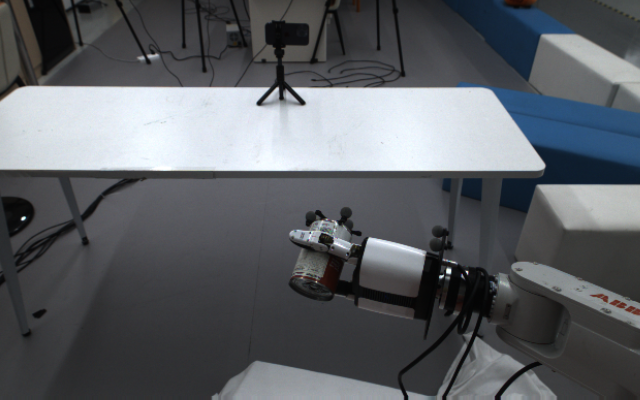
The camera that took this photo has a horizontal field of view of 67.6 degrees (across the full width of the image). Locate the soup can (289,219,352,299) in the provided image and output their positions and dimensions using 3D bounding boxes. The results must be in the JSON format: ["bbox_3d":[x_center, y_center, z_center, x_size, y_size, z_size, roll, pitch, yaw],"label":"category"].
[{"bbox_3d":[0.002,0.085,0.705,0.067,0.067,0.101,12,59,14],"label":"soup can"}]
